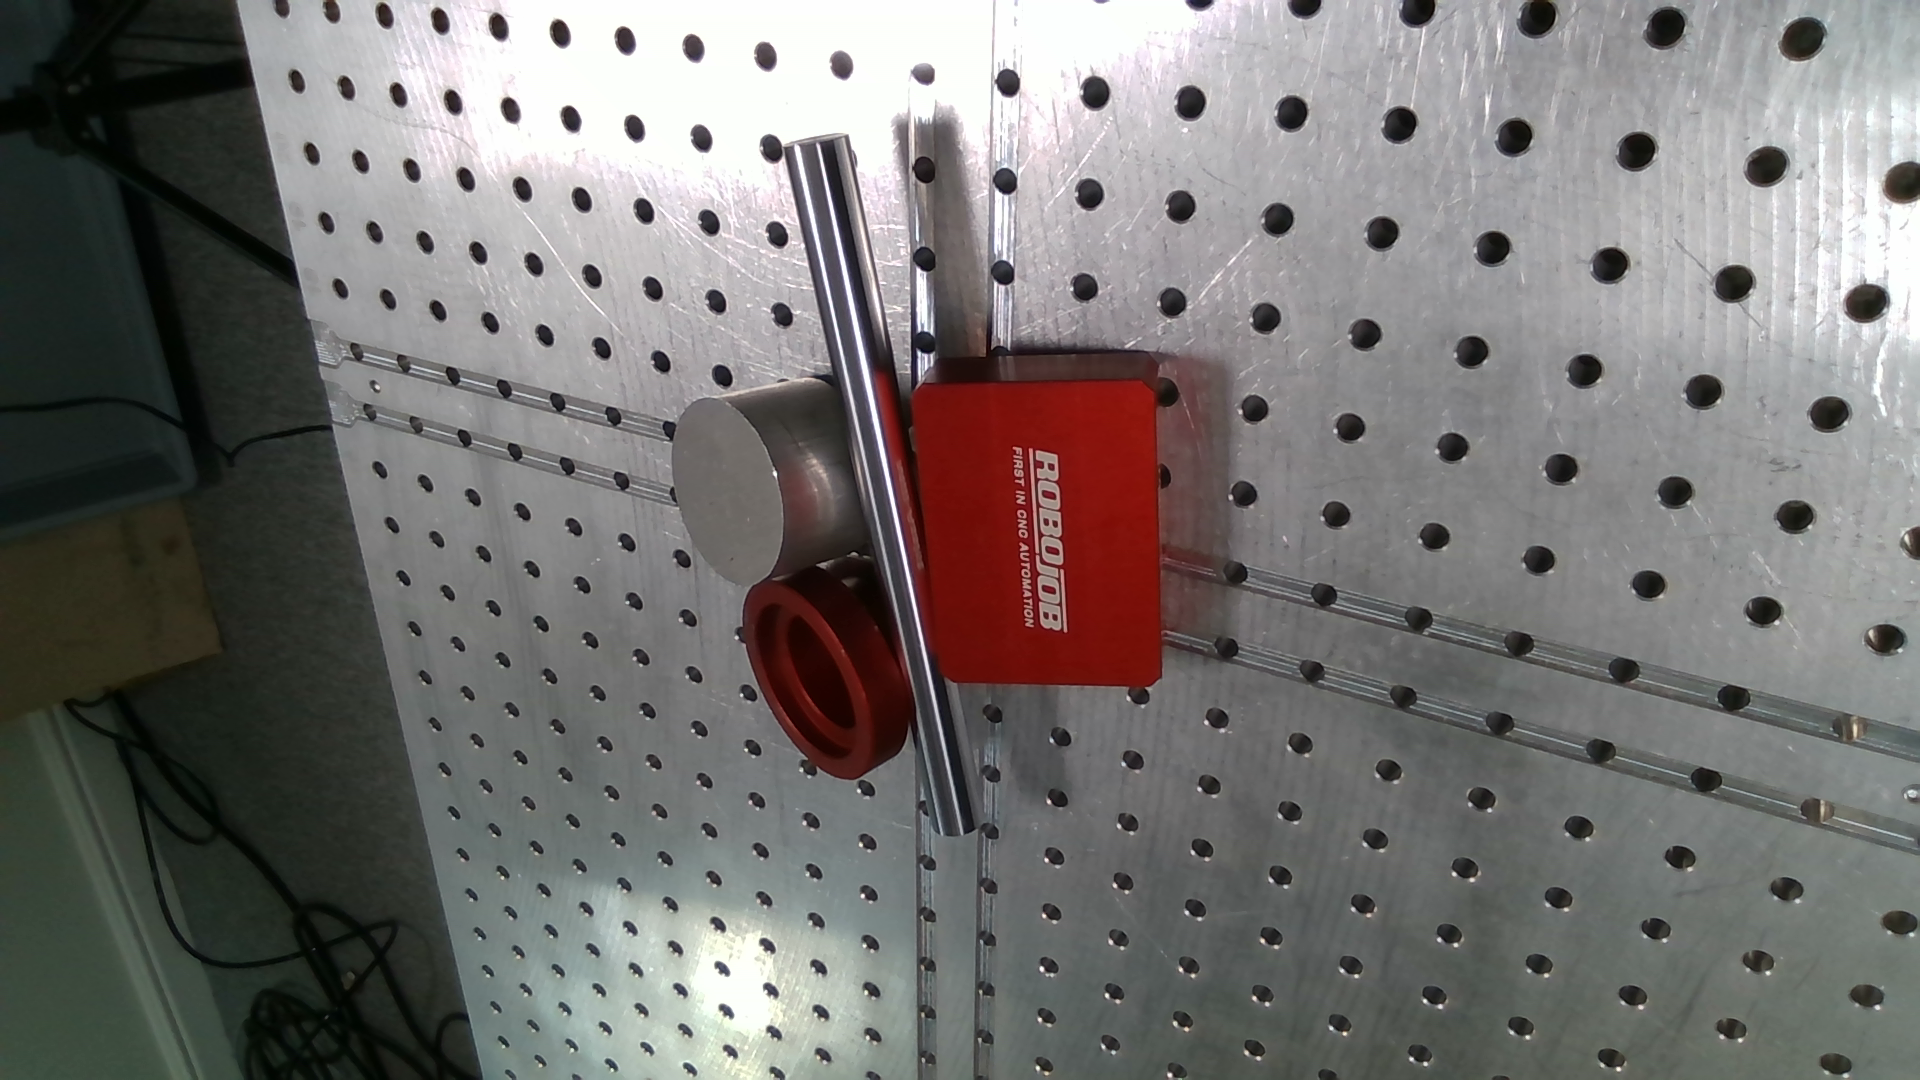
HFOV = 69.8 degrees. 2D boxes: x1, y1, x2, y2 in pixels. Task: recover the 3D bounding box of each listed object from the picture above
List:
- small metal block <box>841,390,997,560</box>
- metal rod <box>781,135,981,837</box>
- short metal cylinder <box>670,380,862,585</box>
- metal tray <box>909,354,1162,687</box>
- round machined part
[{"bbox_3d":[-0.018,-0.028,0.590,0.050,0.025,0.050,30,127,15],"label":"small metal block"},{"bbox_3d":[-0.027,-0.010,0.561,0.025,0.025,0.301,4,117,30],"label":"metal rod"},{"bbox_3d":[-0.080,-0.026,0.586,0.080,0.050,0.080,21,119,43],"label":"short metal cylinder"},{"bbox_3d":[0.033,-0.006,0.538,0.090,0.030,0.130,0,117,11],"label":"metal tray"},{"bbox_3d":[-0.054,0.056,0.621,0.098,0.042,0.098,34,137,39],"label":"round machined part"}]
